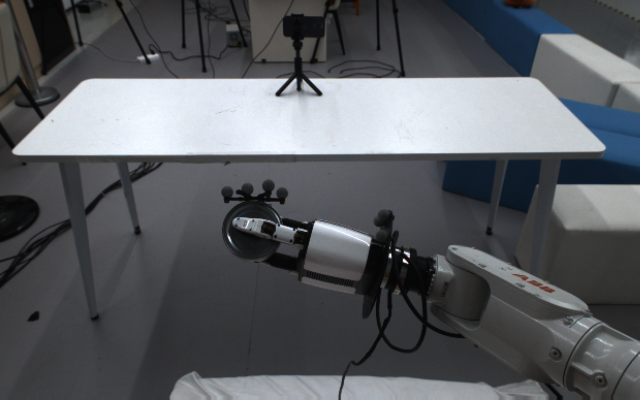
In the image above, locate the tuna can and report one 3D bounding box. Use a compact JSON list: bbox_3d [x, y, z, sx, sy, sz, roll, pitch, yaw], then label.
[{"bbox_3d":[-0.090,0.045,0.688,0.085,0.034,0.085,1,70,-3],"label":"tuna can"}]
